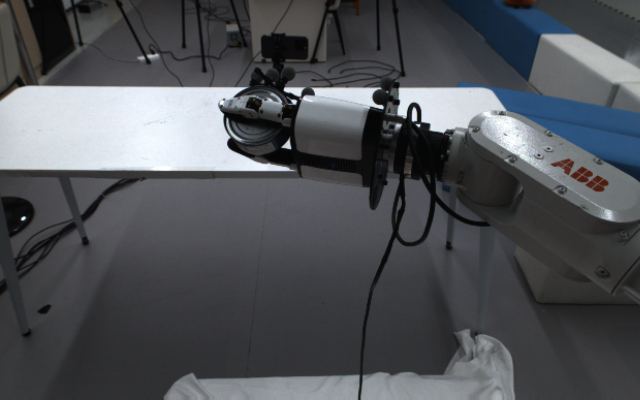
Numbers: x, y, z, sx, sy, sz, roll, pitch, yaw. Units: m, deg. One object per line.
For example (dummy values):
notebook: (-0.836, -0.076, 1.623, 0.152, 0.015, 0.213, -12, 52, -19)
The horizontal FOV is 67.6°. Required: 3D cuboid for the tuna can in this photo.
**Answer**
tuna can: (-0.077, -0.103, 0.622, 0.085, 0.034, 0.085, -4, 67, 10)
